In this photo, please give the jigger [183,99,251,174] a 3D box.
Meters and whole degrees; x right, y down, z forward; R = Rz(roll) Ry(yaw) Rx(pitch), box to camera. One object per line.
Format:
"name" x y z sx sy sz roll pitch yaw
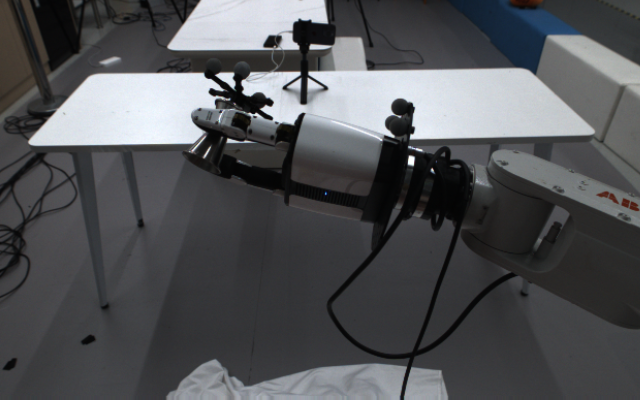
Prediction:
"jigger" -0.108 -0.069 0.505 0.043 0.043 0.071 19 72 23
